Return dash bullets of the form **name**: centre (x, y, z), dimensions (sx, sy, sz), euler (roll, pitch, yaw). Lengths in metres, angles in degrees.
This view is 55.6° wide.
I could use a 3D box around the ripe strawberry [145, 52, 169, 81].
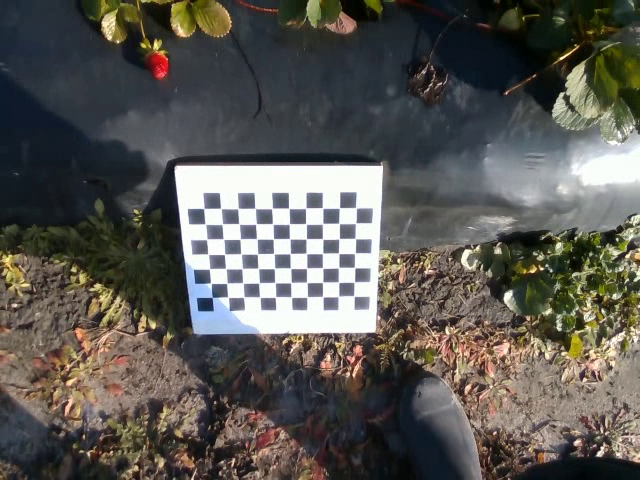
- **ripe strawberry**: centre (-0.176, -0.188, 0.660), dimensions (0.028, 0.041, 0.031), euler (-24, -34, 10)
